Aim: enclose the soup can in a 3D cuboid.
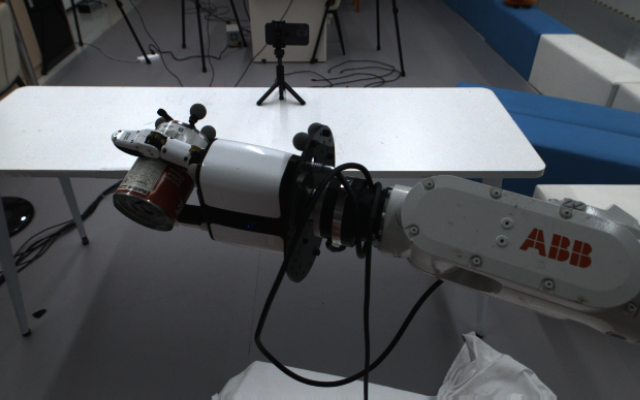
[{"bbox_3d":[-0.165,-0.027,0.520,0.067,0.067,0.101,12,59,14],"label":"soup can"}]
